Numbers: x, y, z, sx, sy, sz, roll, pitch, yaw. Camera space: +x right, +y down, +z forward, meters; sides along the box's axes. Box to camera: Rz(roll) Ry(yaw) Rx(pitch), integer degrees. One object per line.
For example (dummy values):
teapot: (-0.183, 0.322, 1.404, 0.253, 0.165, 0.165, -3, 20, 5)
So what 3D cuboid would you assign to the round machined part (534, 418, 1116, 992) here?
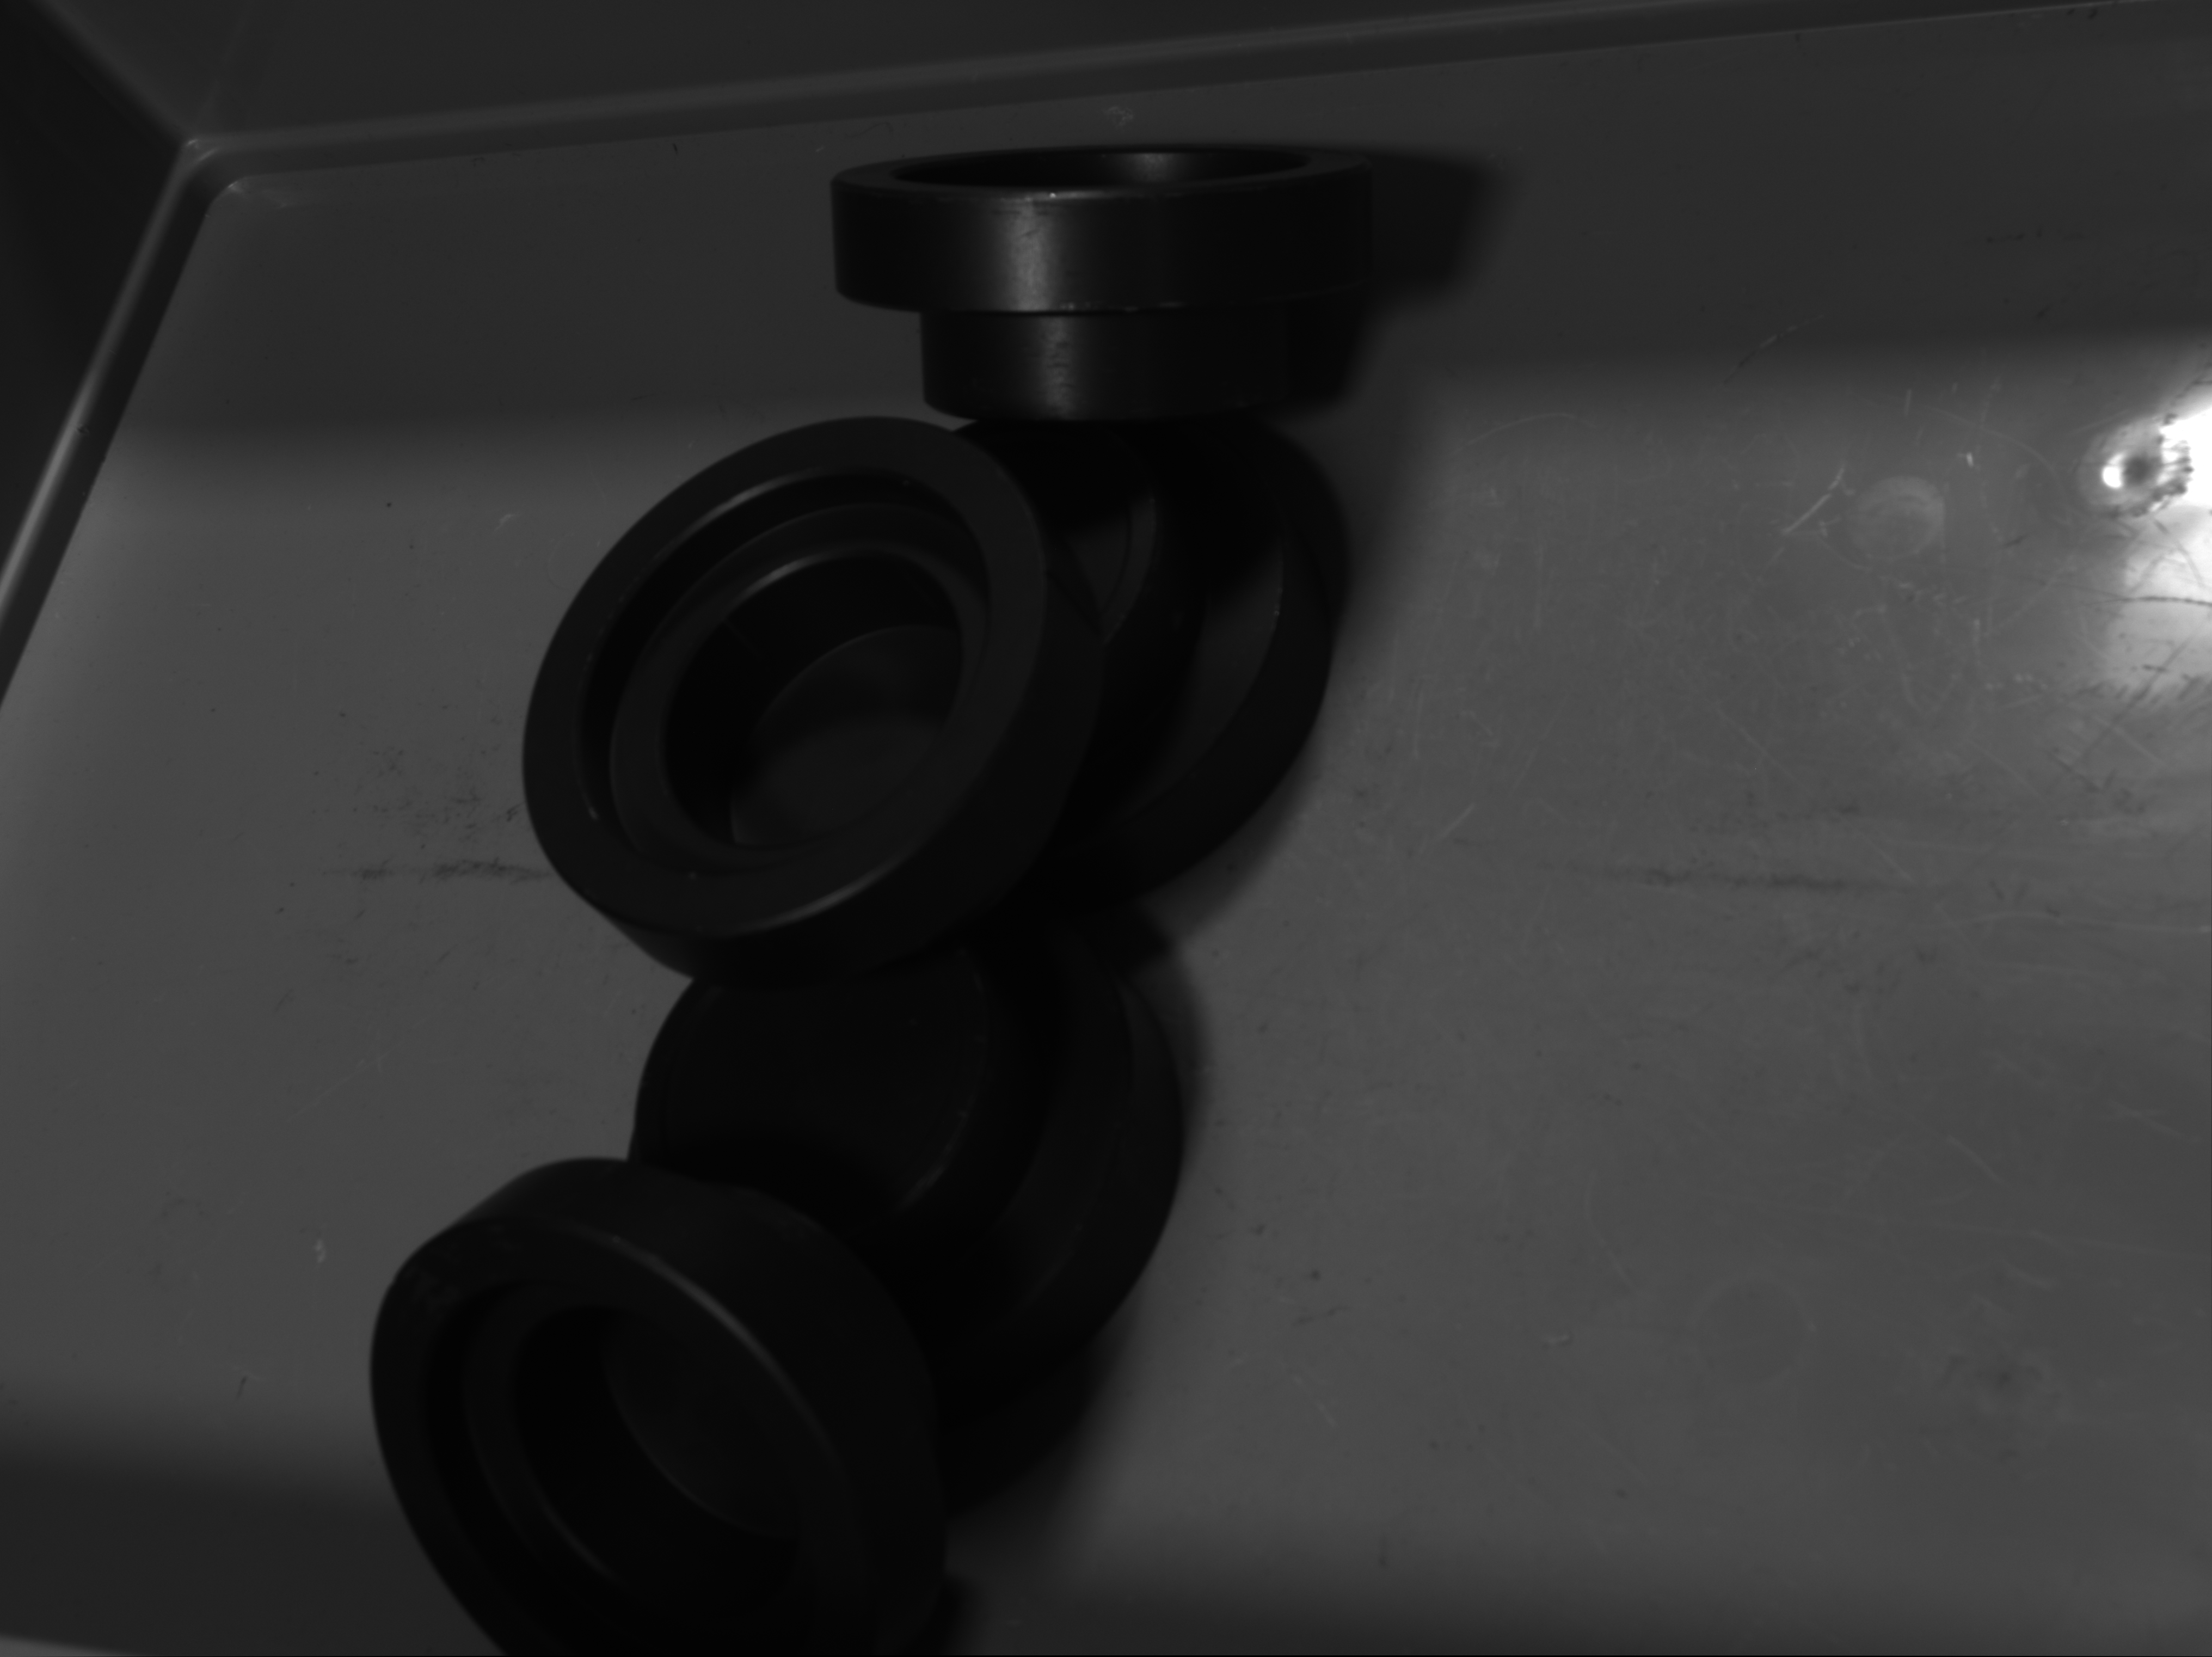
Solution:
round machined part: (-0.042, -0.016, 0.609, 0.098, 0.042, 0.098, -13, 56, 21)

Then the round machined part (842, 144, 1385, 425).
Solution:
round machined part: (0.002, -0.100, 0.669, 0.098, 0.098, 0.042, 7, 108, 32)

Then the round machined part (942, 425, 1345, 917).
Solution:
round machined part: (-0.010, -0.036, 0.659, 0.098, 0.042, 0.098, -13, 56, 21)

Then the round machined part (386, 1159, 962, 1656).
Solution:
round machined part: (-0.064, 0.096, 0.584, 0.098, 0.098, 0.042, 6, 27, 31)

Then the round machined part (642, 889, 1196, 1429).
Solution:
round machined part: (-0.038, 0.050, 0.620, 0.098, 0.042, 0.098, -13, 56, 21)
